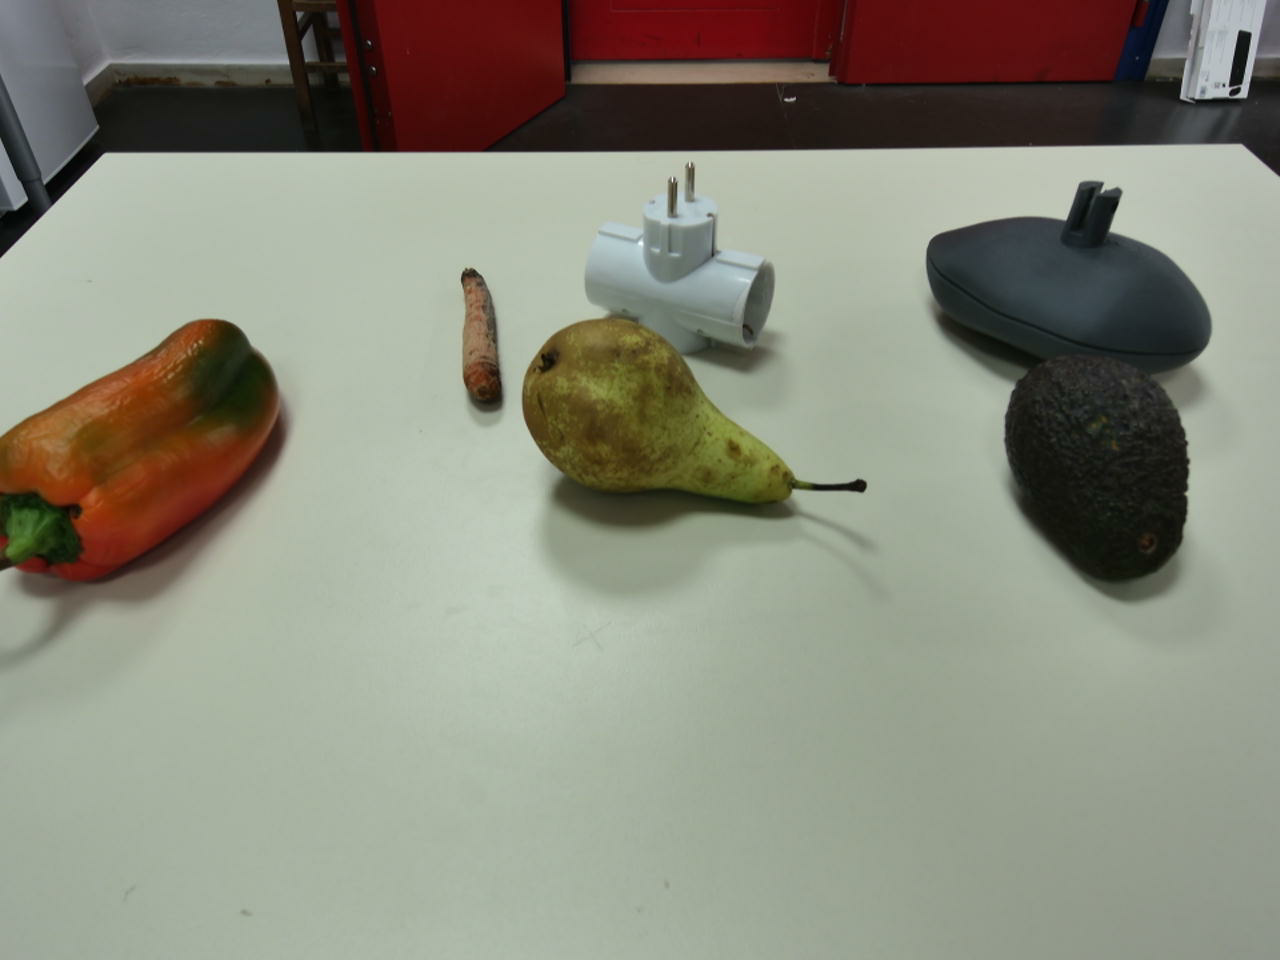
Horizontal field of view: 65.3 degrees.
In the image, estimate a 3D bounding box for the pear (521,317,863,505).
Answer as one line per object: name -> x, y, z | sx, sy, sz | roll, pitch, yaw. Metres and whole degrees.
pear -> 0.022, -0.029, 0.422 | 0.144, 0.075, 0.071 | 4, 39, 6
